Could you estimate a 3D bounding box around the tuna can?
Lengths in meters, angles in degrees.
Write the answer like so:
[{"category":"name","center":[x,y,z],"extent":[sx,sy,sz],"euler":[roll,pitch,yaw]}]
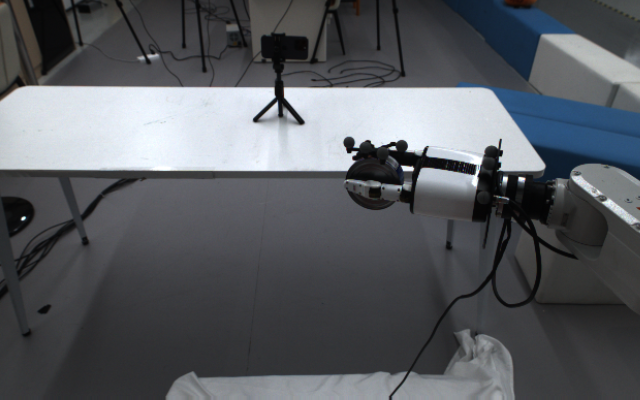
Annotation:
[{"category":"tuna can","center":[0.085,-0.033,0.739],"extent":[0.085,0.085,0.034],"euler":[14,29,16]}]
